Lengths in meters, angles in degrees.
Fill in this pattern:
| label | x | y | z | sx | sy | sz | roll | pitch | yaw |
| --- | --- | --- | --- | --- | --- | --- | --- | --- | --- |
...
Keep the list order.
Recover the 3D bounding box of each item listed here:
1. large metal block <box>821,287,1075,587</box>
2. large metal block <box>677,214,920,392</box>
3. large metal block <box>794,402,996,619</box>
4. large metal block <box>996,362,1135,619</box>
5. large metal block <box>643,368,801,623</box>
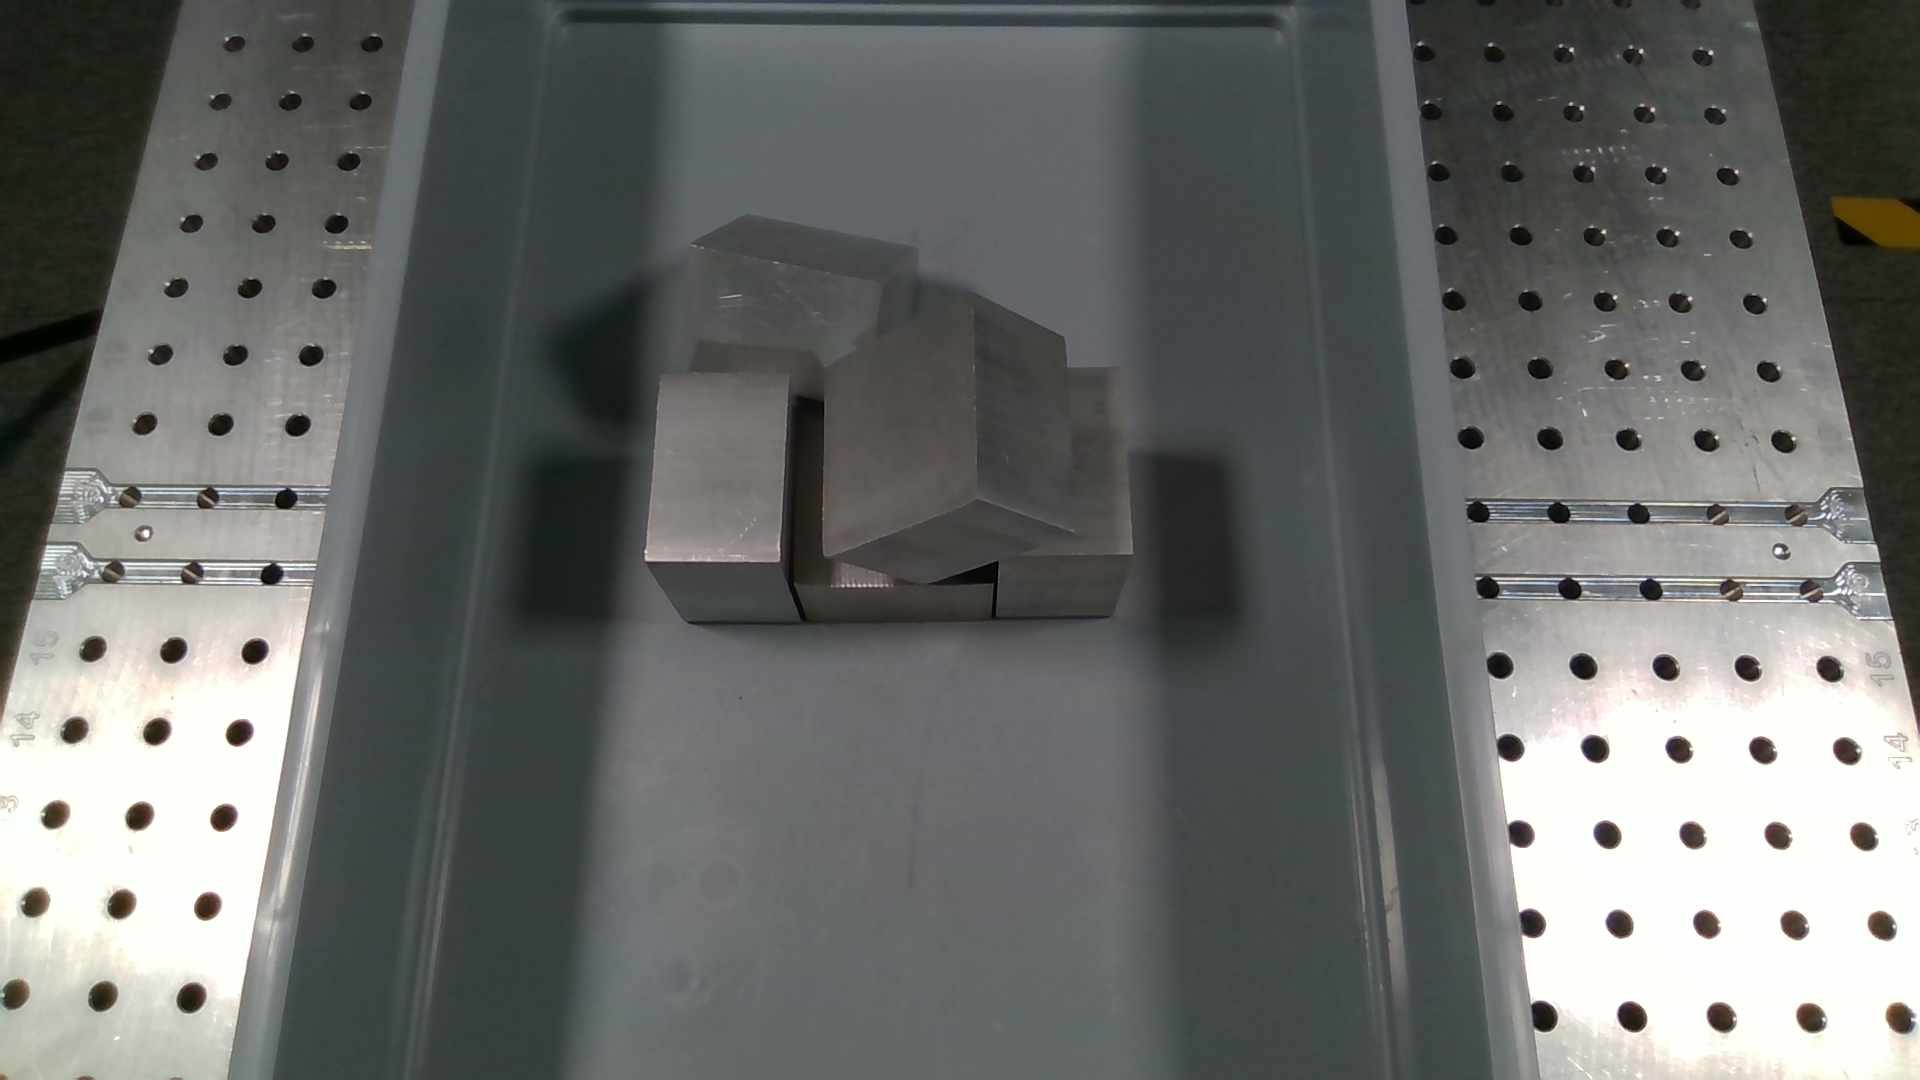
| label | x | y | z | sx | sy | sz | roll | pitch | yaw |
| --- | --- | --- | --- | --- | --- | --- | --- | --- | --- |
| large metal block | -0.006 | -0.035 | 0.510 | 0.050 | 0.080 | 0.080 | 18 | 63 | -42 |
| large metal block | -0.067 | -0.101 | 0.585 | 0.080 | 0.080 | 0.050 | 12 | 113 | 5 |
| large metal block | -0.026 | -0.012 | 0.580 | 0.080 | 0.050 | 0.080 | -1 | 70 | 0 |
| large metal block | 0.039 | -0.018 | 0.563 | 0.050 | 0.080 | 0.080 | -1 | 70 | 0 |
| large metal block | -0.093 | -0.016 | 0.562 | 0.050 | 0.080 | 0.080 | 0 | 70 | 0 |
